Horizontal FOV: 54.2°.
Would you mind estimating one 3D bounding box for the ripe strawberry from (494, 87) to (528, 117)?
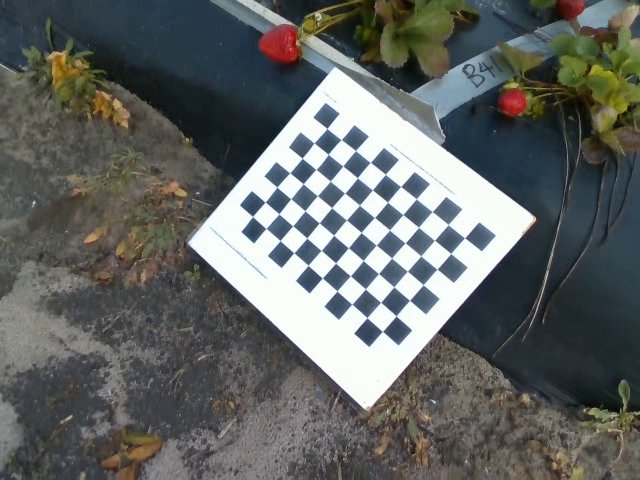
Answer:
[{"bbox_3d":[0.209,-0.145,0.670,0.047,0.038,0.031,-19,-22,-46],"label":"ripe strawberry"}]

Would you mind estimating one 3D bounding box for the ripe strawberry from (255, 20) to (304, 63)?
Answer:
[{"bbox_3d":[-0.046,-0.218,0.691,0.052,0.048,0.030,-8,-10,-14],"label":"ripe strawberry"}]
